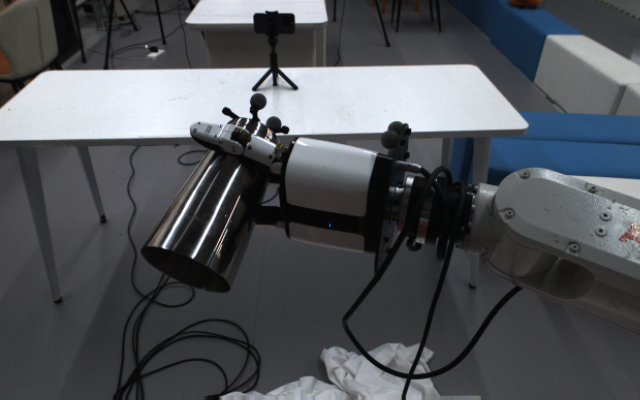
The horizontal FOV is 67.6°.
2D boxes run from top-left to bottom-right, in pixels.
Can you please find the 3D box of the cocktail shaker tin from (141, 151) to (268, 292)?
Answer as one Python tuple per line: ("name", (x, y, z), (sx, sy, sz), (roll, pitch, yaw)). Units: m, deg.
("cocktail shaker tin", (-0.101, -0.003, 0.502), (0.093, 0.093, 0.170), (13, 59, 16))
